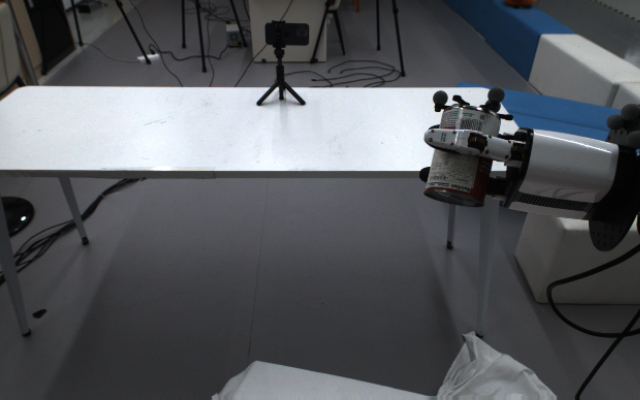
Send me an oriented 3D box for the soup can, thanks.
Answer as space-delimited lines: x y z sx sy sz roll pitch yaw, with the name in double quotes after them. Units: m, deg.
0.165 -0.050 0.557 0.067 0.101 0.067 13 -6 1 "soup can"
